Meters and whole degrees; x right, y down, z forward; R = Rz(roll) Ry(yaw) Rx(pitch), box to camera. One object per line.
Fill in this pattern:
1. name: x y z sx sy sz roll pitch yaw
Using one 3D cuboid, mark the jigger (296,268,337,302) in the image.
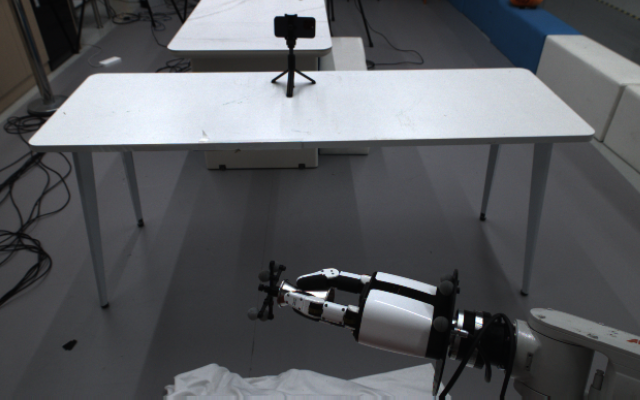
1. jigger: -0.012 0.128 0.652 0.071 0.043 0.043 8 35 16
